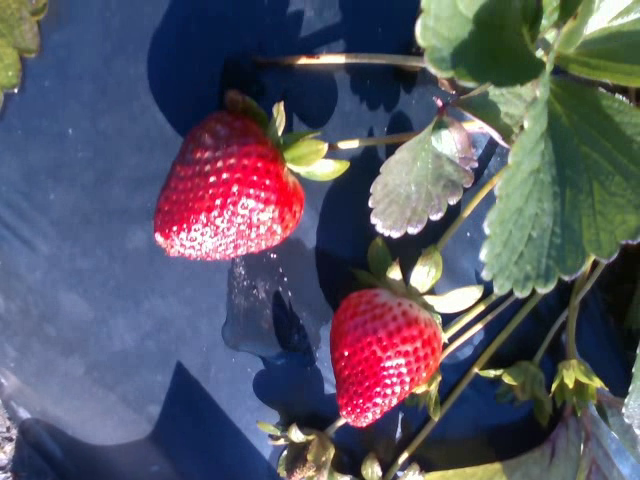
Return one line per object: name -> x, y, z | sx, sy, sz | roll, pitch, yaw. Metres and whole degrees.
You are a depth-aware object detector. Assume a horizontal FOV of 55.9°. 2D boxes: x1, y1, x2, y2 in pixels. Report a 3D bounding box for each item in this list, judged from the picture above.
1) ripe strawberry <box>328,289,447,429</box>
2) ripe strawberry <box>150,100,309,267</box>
ripe strawberry -> 0.018, 0.039, 0.192 | 0.042, 0.049, 0.039 | 19, -22, 25
ripe strawberry -> -0.033, -0.013, 0.183 | 0.050, 0.051, 0.044 | -37, 22, -23
